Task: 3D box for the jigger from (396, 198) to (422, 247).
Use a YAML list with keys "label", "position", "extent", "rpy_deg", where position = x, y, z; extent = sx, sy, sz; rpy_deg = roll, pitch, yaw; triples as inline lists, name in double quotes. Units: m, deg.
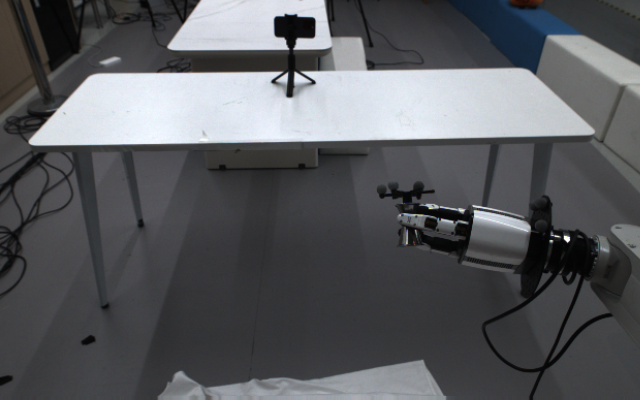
- label: "jigger"
  position: [0.142, 0.038, 0.776]
  extent: [0.043, 0.071, 0.043]
  rpy_deg: [-2, -7, 0]
